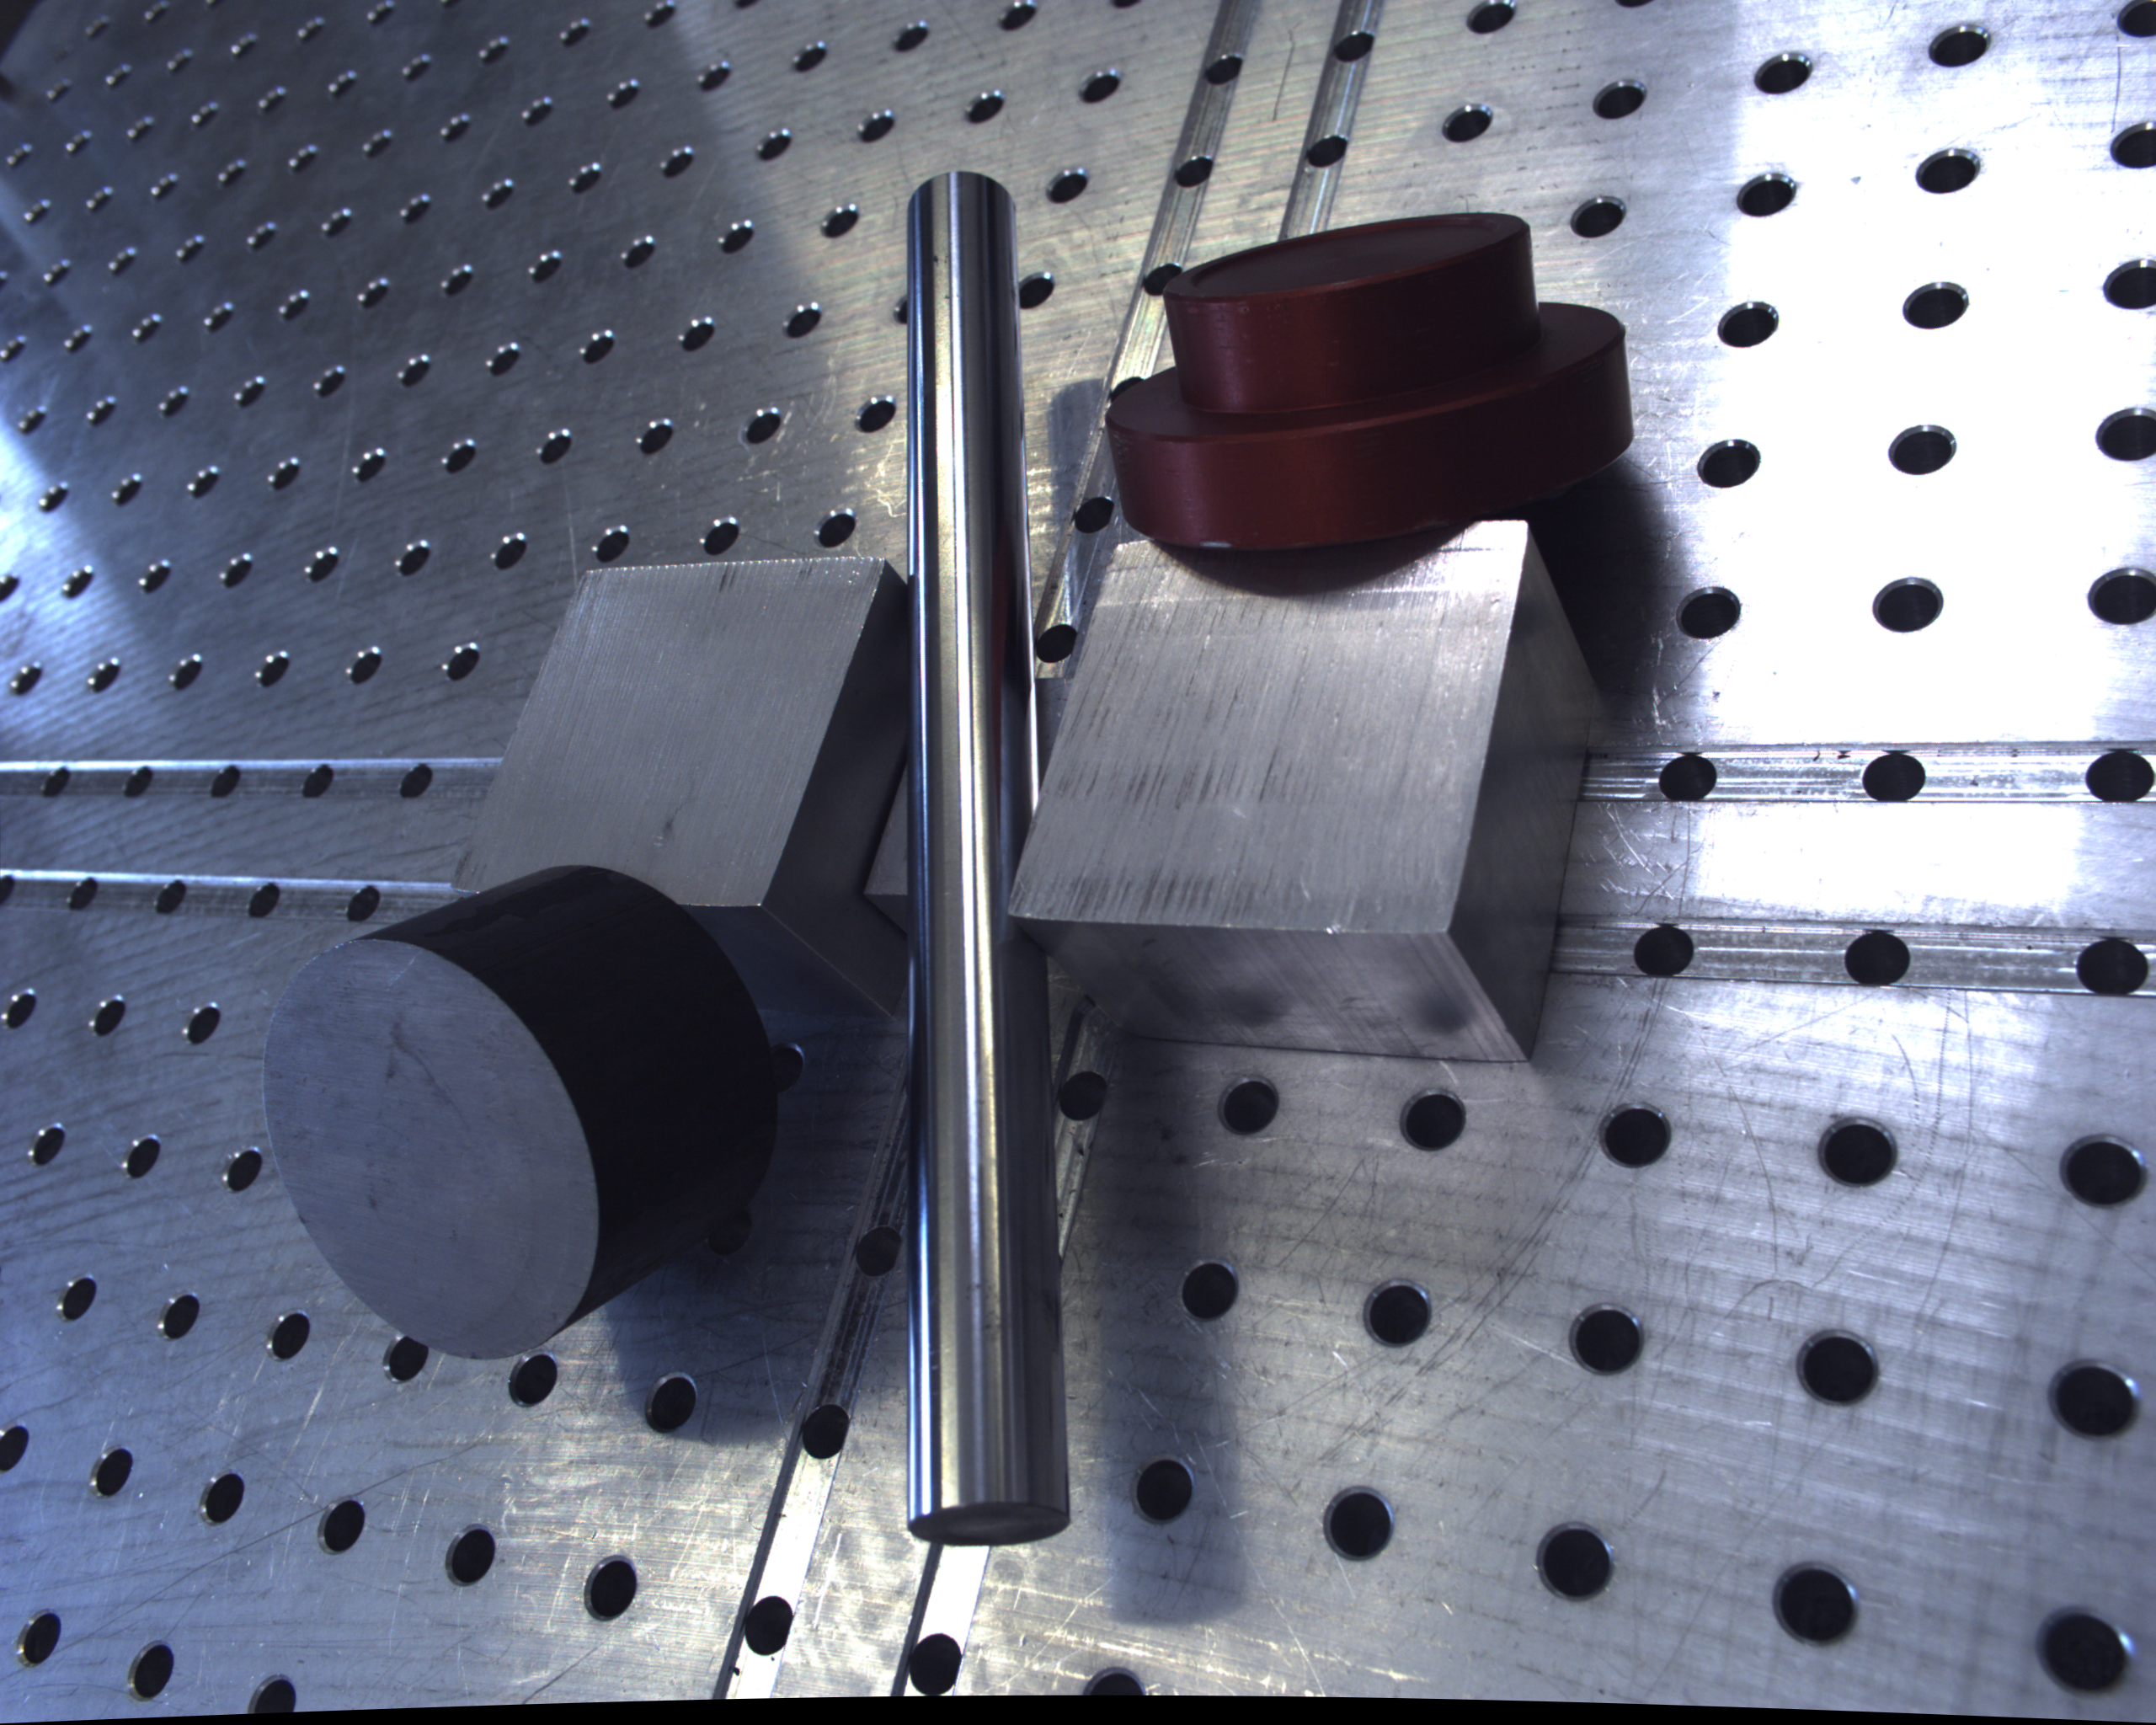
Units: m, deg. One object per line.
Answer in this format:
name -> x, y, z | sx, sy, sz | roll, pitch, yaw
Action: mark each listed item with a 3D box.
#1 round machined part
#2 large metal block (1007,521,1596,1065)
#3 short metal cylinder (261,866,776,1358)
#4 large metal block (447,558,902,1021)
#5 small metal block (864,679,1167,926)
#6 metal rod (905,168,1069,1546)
round machined part -> 0.053, -0.095, 0.396 | 0.098, 0.042, 0.098 | -11, 24, 5
large metal block -> 0.043, -0.012, 0.378 | 0.080, 0.050, 0.080 | 1, 62, 28
short metal cylinder -> -0.105, 0.045, 0.392 | 0.080, 0.050, 0.079 | 9, 109, 27
large metal block -> -0.073, -0.016, 0.441 | 0.080, 0.050, 0.080 | 2, 63, 29
small metal block -> -0.009, -0.009, 0.419 | 0.050, 0.025, 0.050 | 1, 62, 28
metal rod -> -0.020, -0.024, 0.400 | 0.025, 0.025, 0.299 | -16, 55, 19
